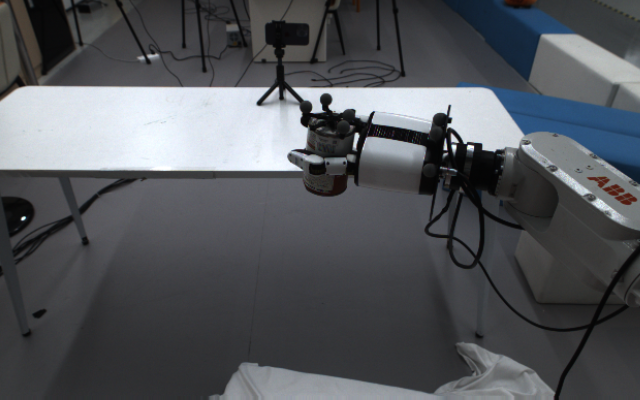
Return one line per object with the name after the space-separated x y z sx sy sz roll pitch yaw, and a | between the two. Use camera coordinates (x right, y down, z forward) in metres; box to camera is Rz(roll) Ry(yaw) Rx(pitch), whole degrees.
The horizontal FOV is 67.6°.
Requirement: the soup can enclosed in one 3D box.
0.012 -0.065 0.693 0.067 0.101 0.067 5 37 -4 | soup can
